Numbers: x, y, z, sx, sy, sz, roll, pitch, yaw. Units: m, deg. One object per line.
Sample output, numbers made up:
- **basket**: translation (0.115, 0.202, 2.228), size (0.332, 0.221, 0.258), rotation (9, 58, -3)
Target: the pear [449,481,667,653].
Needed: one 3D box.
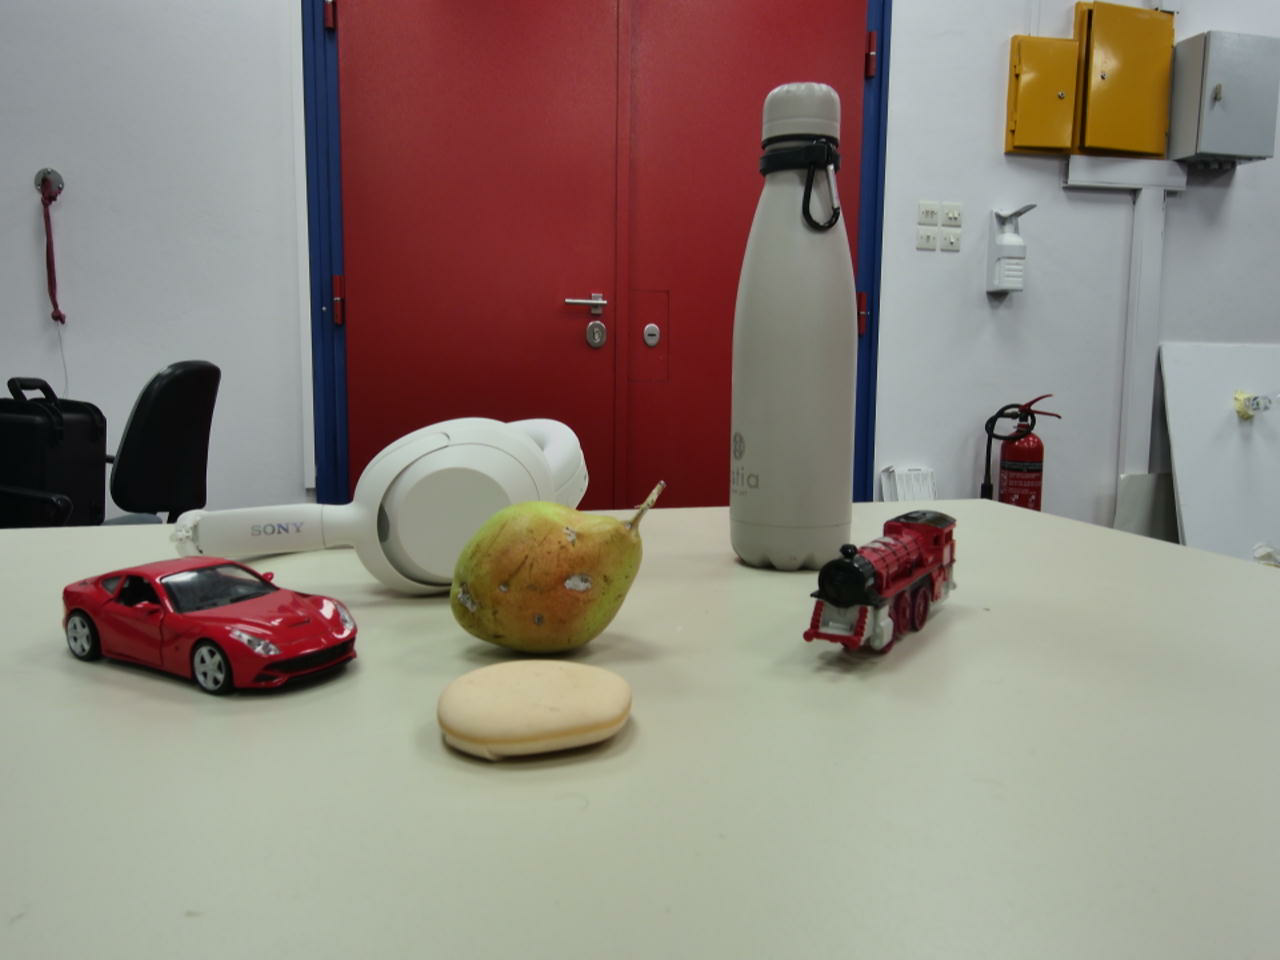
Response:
- **pear**: translation (-0.037, 0.036, 0.410), size (0.070, 0.069, 0.068), rotation (3, 5, 38)
